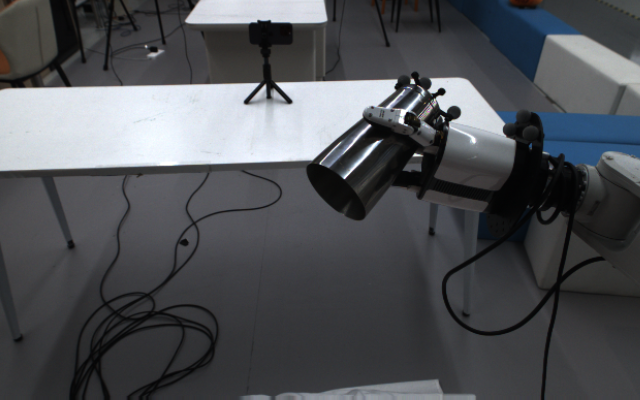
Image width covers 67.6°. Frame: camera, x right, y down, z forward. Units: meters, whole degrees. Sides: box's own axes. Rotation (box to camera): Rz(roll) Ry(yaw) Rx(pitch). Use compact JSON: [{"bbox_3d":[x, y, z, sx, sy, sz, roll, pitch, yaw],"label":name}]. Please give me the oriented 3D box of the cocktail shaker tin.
[{"bbox_3d":[0.073,-0.071,0.598,0.093,0.093,0.170,32,66,35],"label":"cocktail shaker tin"}]
